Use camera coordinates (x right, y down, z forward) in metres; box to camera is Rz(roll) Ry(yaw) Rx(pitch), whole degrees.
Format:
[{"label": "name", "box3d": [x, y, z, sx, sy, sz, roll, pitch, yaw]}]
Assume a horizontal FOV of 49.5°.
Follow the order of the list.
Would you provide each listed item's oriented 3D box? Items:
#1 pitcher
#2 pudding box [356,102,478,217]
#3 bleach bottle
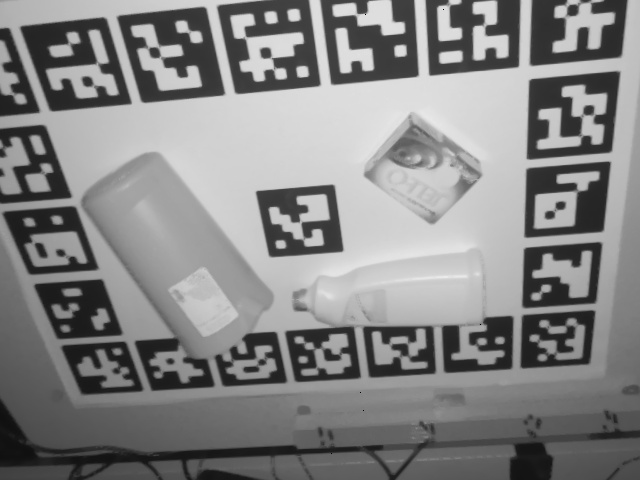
[{"label": "pitcher", "box3d": [-0.193, 0.005, 0.861, 0.186, 0.135, 0.242, -11, 119, 50]}, {"label": "pudding box", "box3d": [0.114, -0.093, 0.813, 0.114, 0.039, 0.088, 36, 121, -13]}, {"label": "bleach bottle", "box3d": [0.081, 0.066, 0.896, 0.250, 0.068, 0.102, -7, 114, 10]}]
